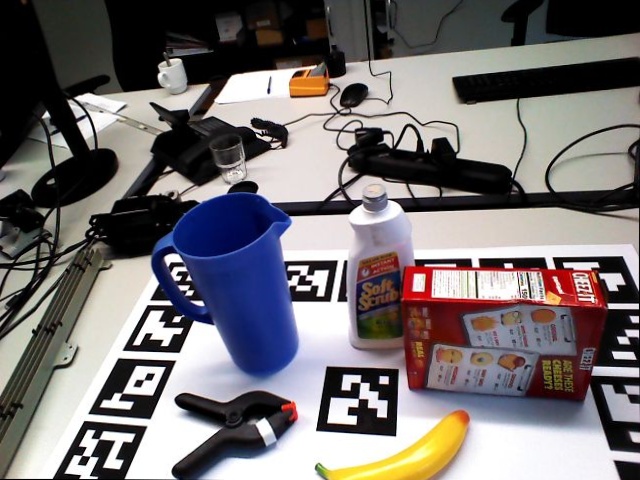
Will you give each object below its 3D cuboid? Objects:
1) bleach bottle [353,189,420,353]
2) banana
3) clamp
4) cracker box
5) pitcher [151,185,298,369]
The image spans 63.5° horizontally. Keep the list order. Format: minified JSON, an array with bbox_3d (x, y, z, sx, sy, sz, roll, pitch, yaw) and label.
[{"bbox_3d":[0.083,0.046,0.694,0.103,0.251,0.067,-2,37,13],"label":"bleach bottle"},{"bbox_3d":[0.112,0.254,0.601,0.197,0.039,0.074,-22,37,-14],"label":"banana"},{"bbox_3d":[-0.100,0.239,0.665,0.165,0.036,0.121,-10,35,-1],"label":"clamp"},{"bbox_3d":[0.226,0.109,0.618,0.215,0.164,0.071,-2,35,15],"label":"cracker box"},{"bbox_3d":[-0.110,0.060,0.695,0.189,0.243,0.133,-11,36,-4],"label":"pitcher"}]
